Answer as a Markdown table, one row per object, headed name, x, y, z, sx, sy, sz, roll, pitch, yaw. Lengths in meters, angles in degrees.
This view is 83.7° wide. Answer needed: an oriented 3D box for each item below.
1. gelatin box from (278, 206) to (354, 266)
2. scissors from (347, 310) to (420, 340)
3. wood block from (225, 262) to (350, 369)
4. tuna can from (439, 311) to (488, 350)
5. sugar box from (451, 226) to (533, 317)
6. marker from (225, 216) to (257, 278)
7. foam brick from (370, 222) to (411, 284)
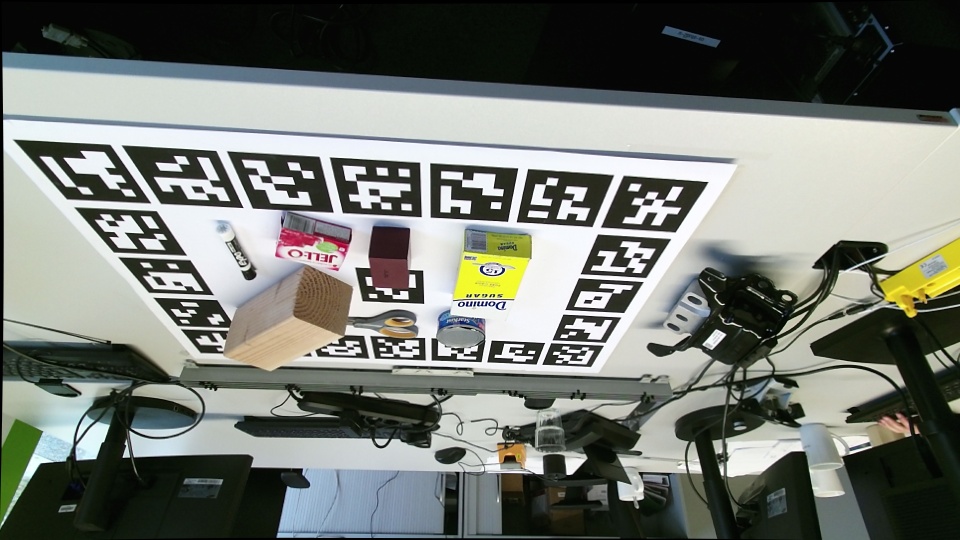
| name | x | y | z | sx | sy | sz | roll | pitch | yaw |
| --- | --- | --- | --- | --- | --- | --- | --- | --- | --- |
| gelatin box | -0.227 | -0.045 | 0.740 | 0.090 | 0.030 | 0.073 | 14 | 140 | -20 |
| scissors | -0.203 | 0.092 | 0.940 | 0.204 | 0.016 | 0.088 | 6 | 143 | -12 |
| wood block | -0.314 | 0.077 | 0.860 | 0.206 | 0.090 | 0.090 | -27 | 137 | 32 |
| tuna can | -0.029 | 0.105 | 0.939 | 0.086 | 0.033 | 0.086 | -1 | 143 | 0 |
| sugar box | 0.013 | 0.007 | 0.805 | 0.093 | 0.045 | 0.176 | 6 | 143 | -8 |
| marker | -0.340 | -0.029 | 0.766 | 0.020 | 0.019 | 0.121 | 3 | 141 | -6 |
| foam brick | -0.124 | -0.023 | 0.747 | 0.053 | 0.051 | 0.078 | 3 | 143 | -6 |
